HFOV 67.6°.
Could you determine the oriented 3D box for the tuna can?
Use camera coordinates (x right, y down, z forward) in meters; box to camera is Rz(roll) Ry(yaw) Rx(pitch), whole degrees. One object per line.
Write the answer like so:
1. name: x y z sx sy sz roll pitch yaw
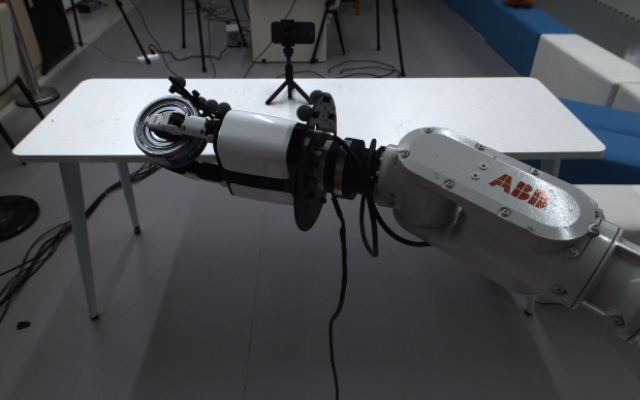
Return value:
1. tuna can: -0.183 -0.085 0.598 0.085 0.034 0.085 -4 69 9
